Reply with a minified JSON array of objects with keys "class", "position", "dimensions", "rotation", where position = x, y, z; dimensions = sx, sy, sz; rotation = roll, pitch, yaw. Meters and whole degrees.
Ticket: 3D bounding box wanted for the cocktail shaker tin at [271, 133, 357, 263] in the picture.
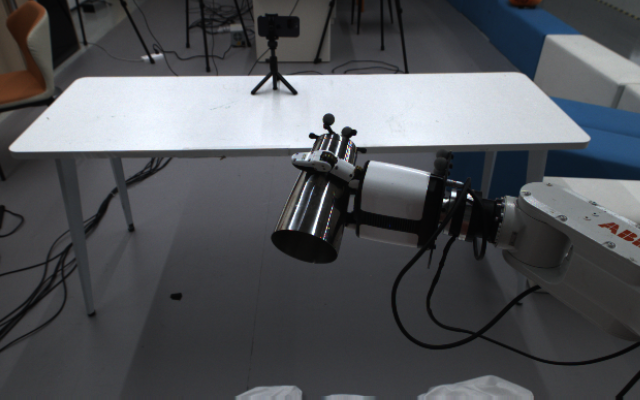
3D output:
[{"class":"cocktail shaker tin","position":[0.002,-0.008,0.673],"dimensions":[0.093,0.093,0.170],"rotation":[11,60,12]}]
